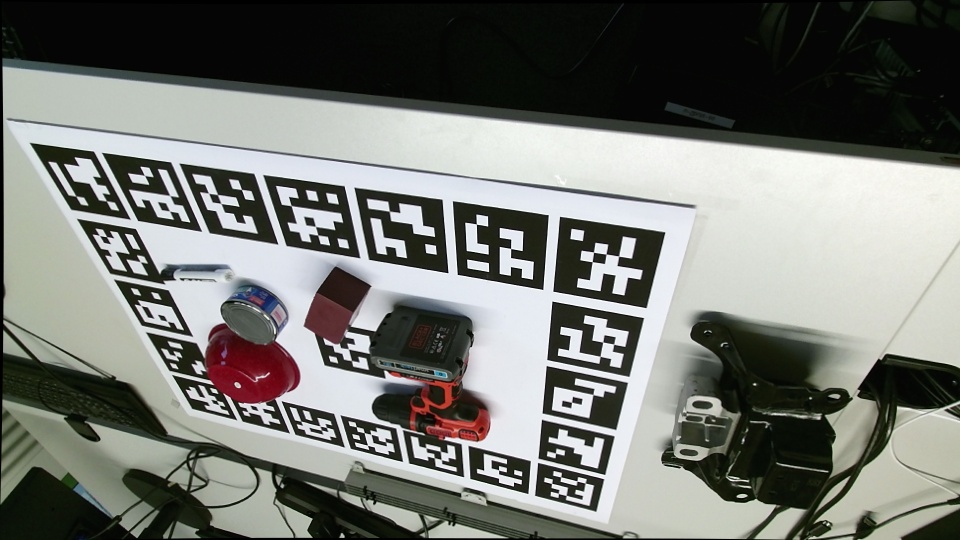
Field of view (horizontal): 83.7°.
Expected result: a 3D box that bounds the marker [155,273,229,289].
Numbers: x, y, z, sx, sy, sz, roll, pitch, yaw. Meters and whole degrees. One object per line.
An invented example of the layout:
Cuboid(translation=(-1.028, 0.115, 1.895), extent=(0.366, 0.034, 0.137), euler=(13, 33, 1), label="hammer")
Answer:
Cuboid(translation=(-0.404, 0.015, 0.746), extent=(0.121, 0.019, 0.019), euler=(1, 126, 19), label="marker")

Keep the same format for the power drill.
Cuboid(translation=(-0.073, 0.158, 0.723), extent=(0.185, 0.057, 0.187), euler=(10, 132, 17), label="power drill")

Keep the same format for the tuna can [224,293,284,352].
Cuboid(translation=(-0.323, 0.073, 0.755), extent=(0.086, 0.033, 0.086), euler=(12, 130, 14), label="tuna can")

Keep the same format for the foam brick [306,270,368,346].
Cuboid(translation=(-0.185, 0.049, 0.683), extent=(0.051, 0.052, 0.078), euler=(29, 130, -2), label="foam brick")

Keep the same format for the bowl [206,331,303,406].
Cuboid(translation=(-0.368, 0.167, 0.847), extent=(0.162, 0.055, 0.162), euler=(9, 136, 9), label="bowl")
